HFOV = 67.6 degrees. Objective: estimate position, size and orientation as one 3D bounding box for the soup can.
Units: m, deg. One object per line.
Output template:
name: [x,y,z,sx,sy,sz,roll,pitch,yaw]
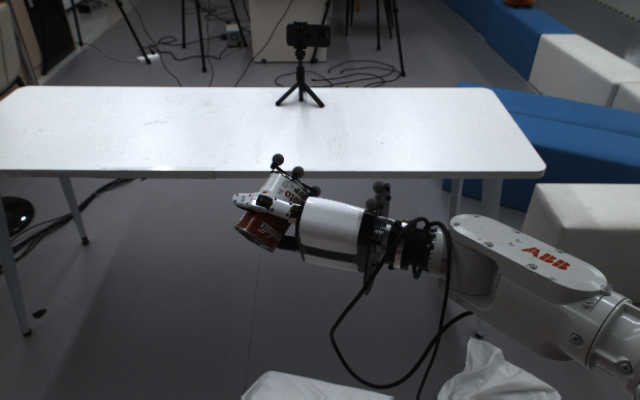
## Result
soup can: [-0.069,0.017,0.709,0.067,0.067,0.101,24,73,28]
